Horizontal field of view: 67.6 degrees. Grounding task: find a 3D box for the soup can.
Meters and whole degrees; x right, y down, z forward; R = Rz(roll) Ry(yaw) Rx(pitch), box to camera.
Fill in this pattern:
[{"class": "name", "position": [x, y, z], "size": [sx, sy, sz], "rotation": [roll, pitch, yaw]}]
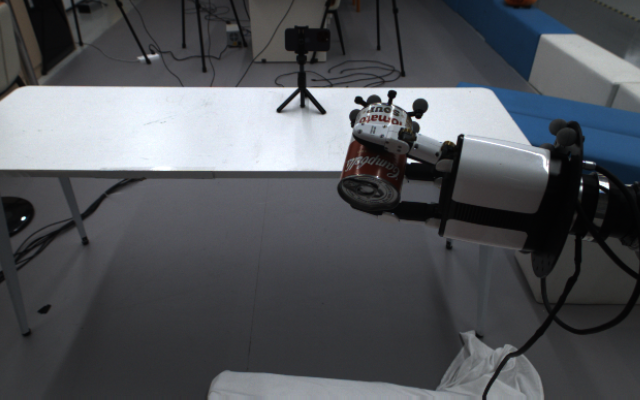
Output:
[{"class": "soup can", "position": [0.064, -0.050, 0.535], "size": [0.067, 0.067, 0.101], "rotation": [9, 61, 10]}]
